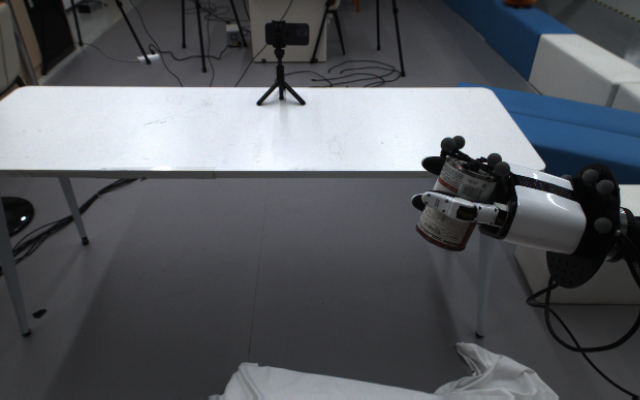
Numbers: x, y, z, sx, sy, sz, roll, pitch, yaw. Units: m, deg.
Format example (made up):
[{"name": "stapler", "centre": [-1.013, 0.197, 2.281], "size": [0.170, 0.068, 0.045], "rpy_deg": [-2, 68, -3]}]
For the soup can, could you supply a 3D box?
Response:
[{"name": "soup can", "centre": [0.173, 0.003, 0.609], "size": [0.067, 0.101, 0.067], "rpy_deg": [16, 21, -7]}]
